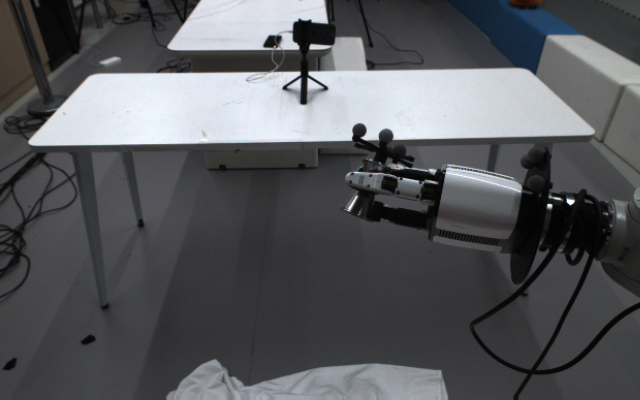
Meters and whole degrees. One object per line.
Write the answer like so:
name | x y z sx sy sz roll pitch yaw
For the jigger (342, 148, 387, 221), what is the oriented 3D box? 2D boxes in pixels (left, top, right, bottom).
jigger | 0.056 -0.014 0.588 0.043 0.071 0.043 24 -3 1
